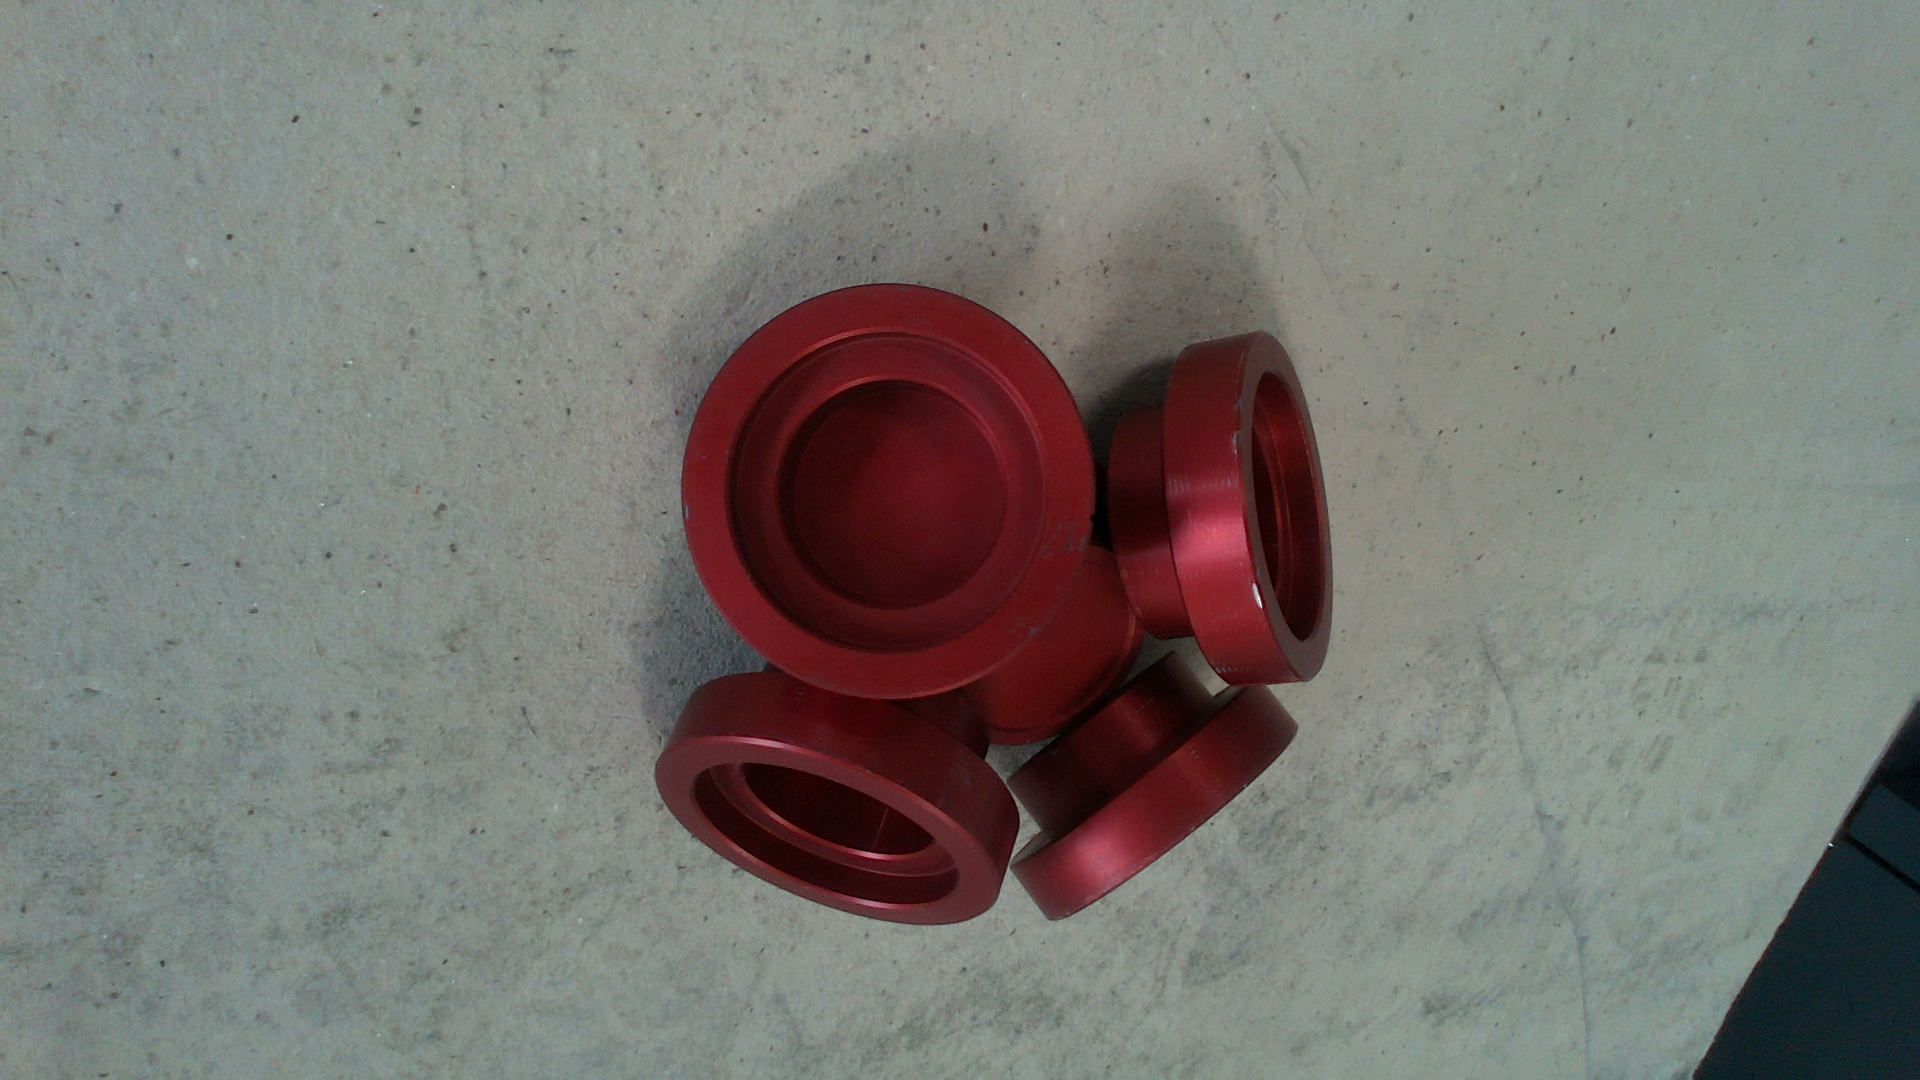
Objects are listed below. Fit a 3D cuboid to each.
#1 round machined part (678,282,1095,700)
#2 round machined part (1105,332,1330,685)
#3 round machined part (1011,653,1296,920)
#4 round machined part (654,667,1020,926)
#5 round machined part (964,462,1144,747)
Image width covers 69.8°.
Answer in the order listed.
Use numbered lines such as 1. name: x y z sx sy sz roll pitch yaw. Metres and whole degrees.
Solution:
1. round machined part: -0.017 -0.011 0.342 0.098 0.042 0.098 0 90 2
2. round machined part: 0.073 -0.007 0.391 0.042 0.098 0.098 -8 134 26
3. round machined part: 0.053 0.071 0.430 0.098 0.042 0.098 -37 172 -6
4. round machined part: -0.030 0.065 0.379 0.098 0.098 0.042 55 42 -39
5. round machined part: 0.015 0.020 0.399 0.098 0.042 0.098 -14 123 -22
